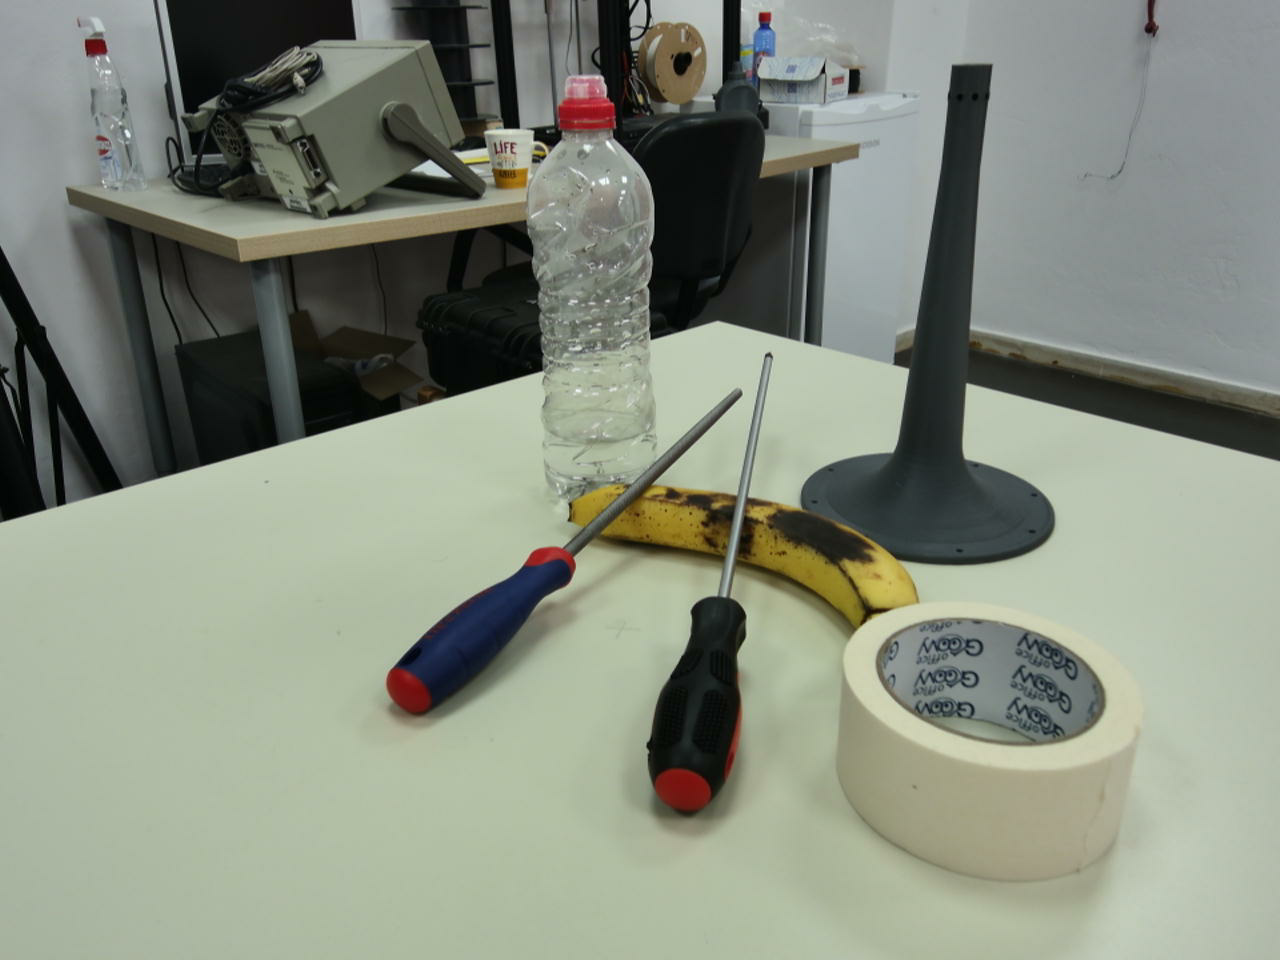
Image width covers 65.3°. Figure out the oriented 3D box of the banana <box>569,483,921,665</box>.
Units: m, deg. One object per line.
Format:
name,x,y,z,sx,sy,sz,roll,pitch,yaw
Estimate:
banana,0.060,0.036,0.532,0.084,0.037,0.222,-19,29,-37
